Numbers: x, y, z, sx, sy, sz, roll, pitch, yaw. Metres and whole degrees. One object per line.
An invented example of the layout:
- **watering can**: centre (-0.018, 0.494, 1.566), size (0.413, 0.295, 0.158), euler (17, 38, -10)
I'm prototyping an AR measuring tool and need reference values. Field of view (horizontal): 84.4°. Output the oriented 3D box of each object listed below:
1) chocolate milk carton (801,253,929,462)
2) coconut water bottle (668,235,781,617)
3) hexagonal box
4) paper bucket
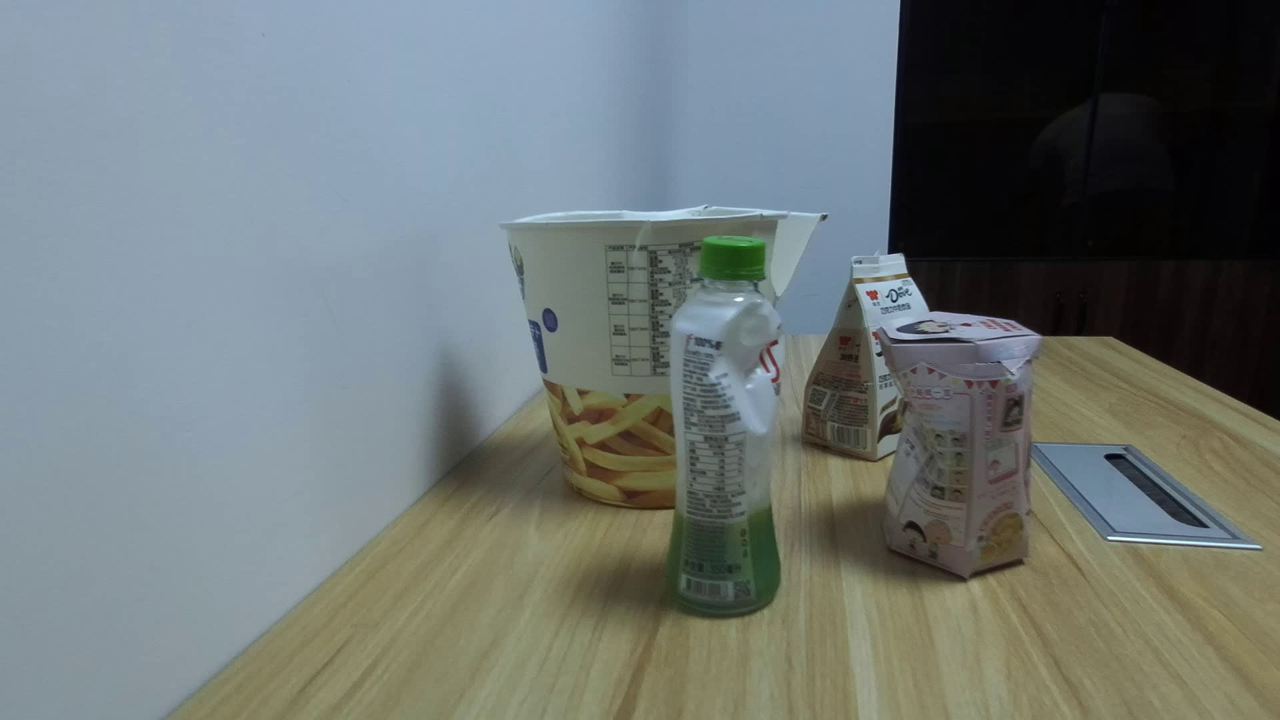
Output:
- **chocolate milk carton**: centre (0.182, -0.008, 0.570), size (0.085, 0.155, 0.072), euler (-15, 19, -41)
- **coconut water bottle**: centre (0.044, 0.032, 0.362), size (0.069, 0.187, 0.069), euler (0, 13, 0)
- **hexagonal box**: centre (0.181, 0.046, 0.412), size (0.091, 0.134, 0.089), euler (-13, 16, -36)
- **paper bucket**: centre (0.018, -0.010, 0.519), size (0.203, 0.197, 0.145), euler (-9, 17, -25)
